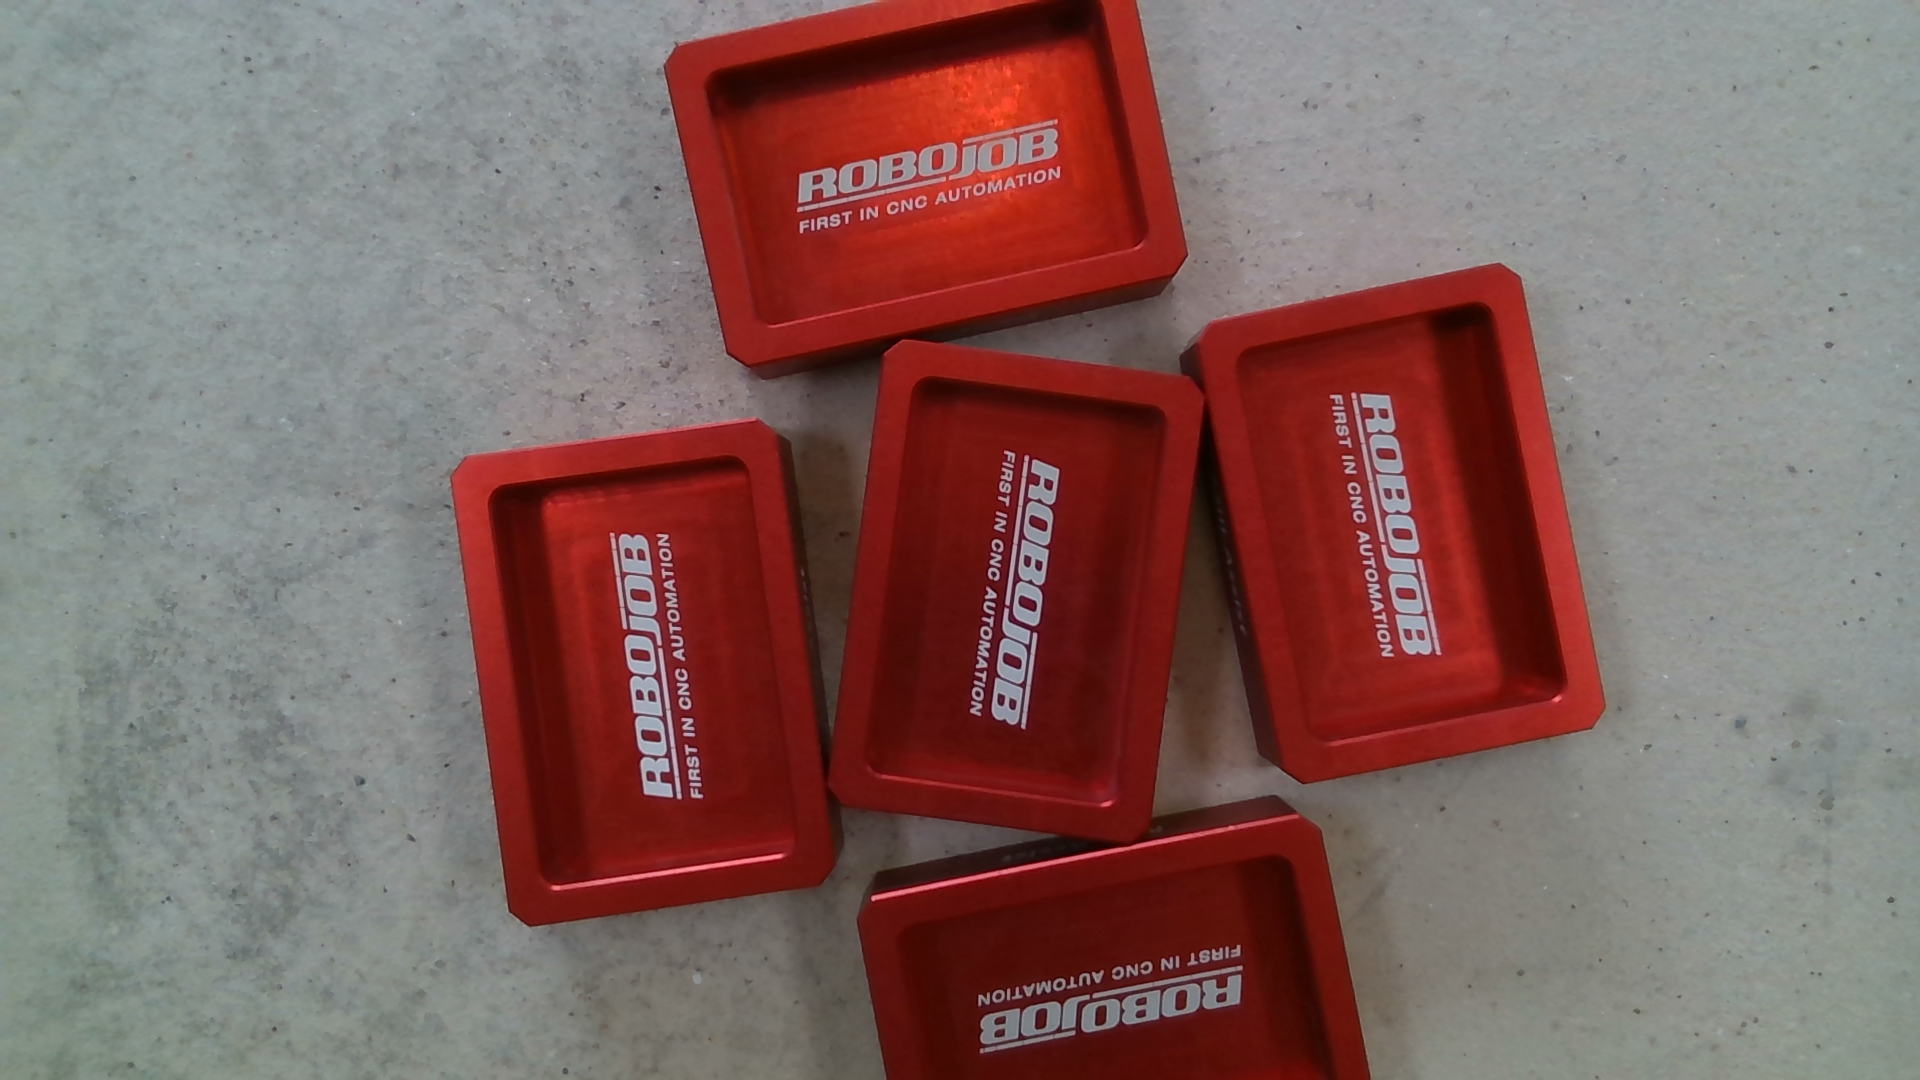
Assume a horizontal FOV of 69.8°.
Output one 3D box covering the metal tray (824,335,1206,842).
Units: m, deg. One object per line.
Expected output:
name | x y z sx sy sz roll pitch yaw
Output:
metal tray | 0.015 0.013 0.393 0.090 0.030 0.130 8 90 2

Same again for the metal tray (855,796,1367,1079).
metal tray | 0.043 0.130 0.394 0.130 0.030 0.090 -11 89 0

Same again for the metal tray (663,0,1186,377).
metal tray | -0.010 -0.105 0.392 0.130 0.030 0.090 -12 90 0

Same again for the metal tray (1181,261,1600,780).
metal tray | 0.120 -0.005 0.393 0.090 0.030 0.130 -11 90 0

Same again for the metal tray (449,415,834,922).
metal tray | -0.088 0.035 0.392 0.090 0.030 0.130 -8 90 0
